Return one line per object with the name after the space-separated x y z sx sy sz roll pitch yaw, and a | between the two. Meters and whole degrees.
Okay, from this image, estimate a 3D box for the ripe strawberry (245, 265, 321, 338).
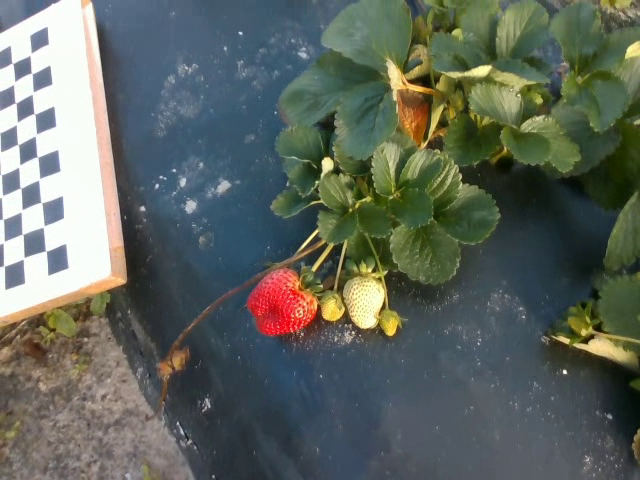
-0.033 0.047 0.455 0.050 0.048 0.035 -36 -25 3 | ripe strawberry
